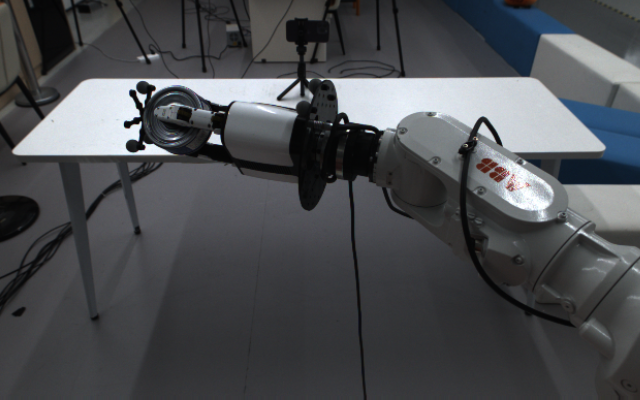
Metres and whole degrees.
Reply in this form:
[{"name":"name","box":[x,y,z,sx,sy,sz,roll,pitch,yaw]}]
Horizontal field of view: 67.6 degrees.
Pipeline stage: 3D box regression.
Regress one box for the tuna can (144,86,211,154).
[{"name":"tuna can","box":[-0.182,-0.101,0.626,0.085,0.085,0.034,10,-5,11]}]
